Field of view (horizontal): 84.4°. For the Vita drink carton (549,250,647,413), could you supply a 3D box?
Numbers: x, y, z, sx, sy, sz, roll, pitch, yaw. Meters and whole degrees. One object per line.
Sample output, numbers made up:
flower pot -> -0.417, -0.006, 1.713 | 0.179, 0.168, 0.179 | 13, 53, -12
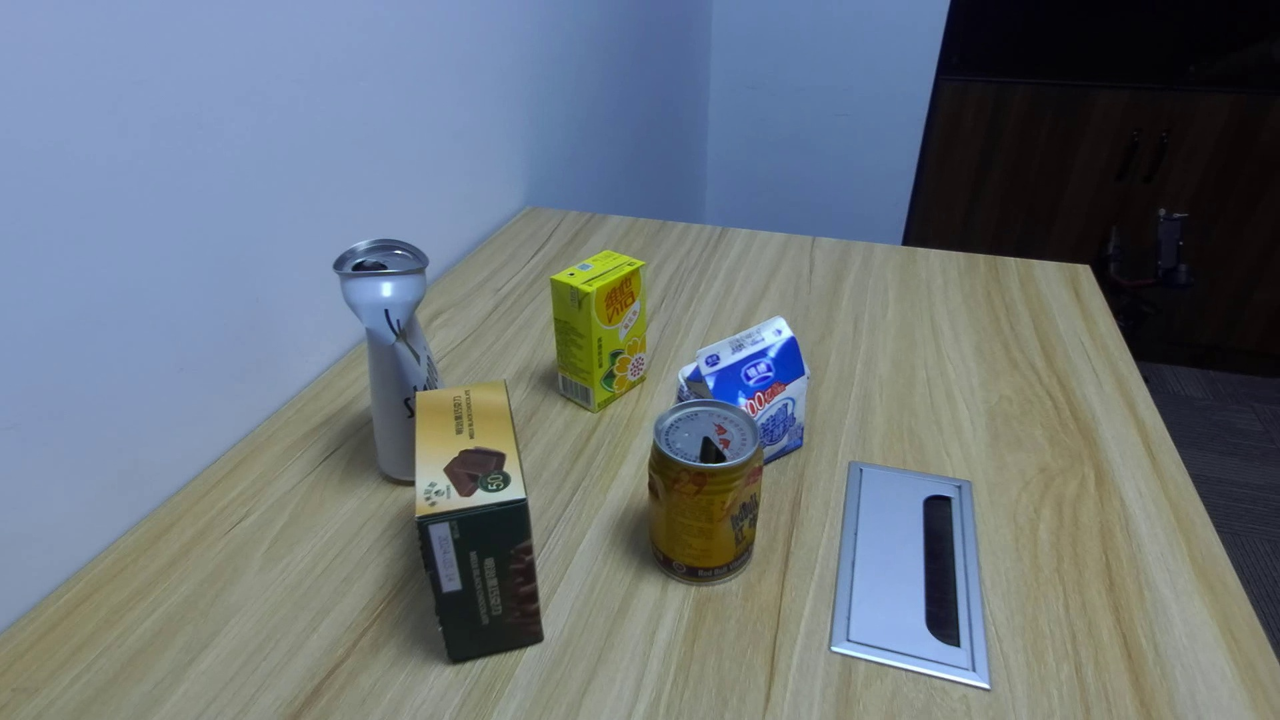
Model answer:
Vita drink carton -> -0.030, -0.023, 0.559 | 0.043, 0.109, 0.067 | 25, 41, 34

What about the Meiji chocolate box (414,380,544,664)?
Meiji chocolate box -> -0.091, 0.087, 0.397 | 0.056, 0.109, 0.109 | -9, 33, -12

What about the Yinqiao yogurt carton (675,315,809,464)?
Yinqiao yogurt carton -> 0.075, 0.018, 0.506 | 0.083, 0.093, 0.077 | -19, 37, -26

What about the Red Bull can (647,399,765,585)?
Red Bull can -> 0.038, 0.078, 0.417 | 0.069, 0.092, 0.069 | -1, 33, 1

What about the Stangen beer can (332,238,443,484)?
Stangen beer can -> -0.159, 0.005, 0.475 | 0.076, 0.162, 0.066 | 21, 38, 33
